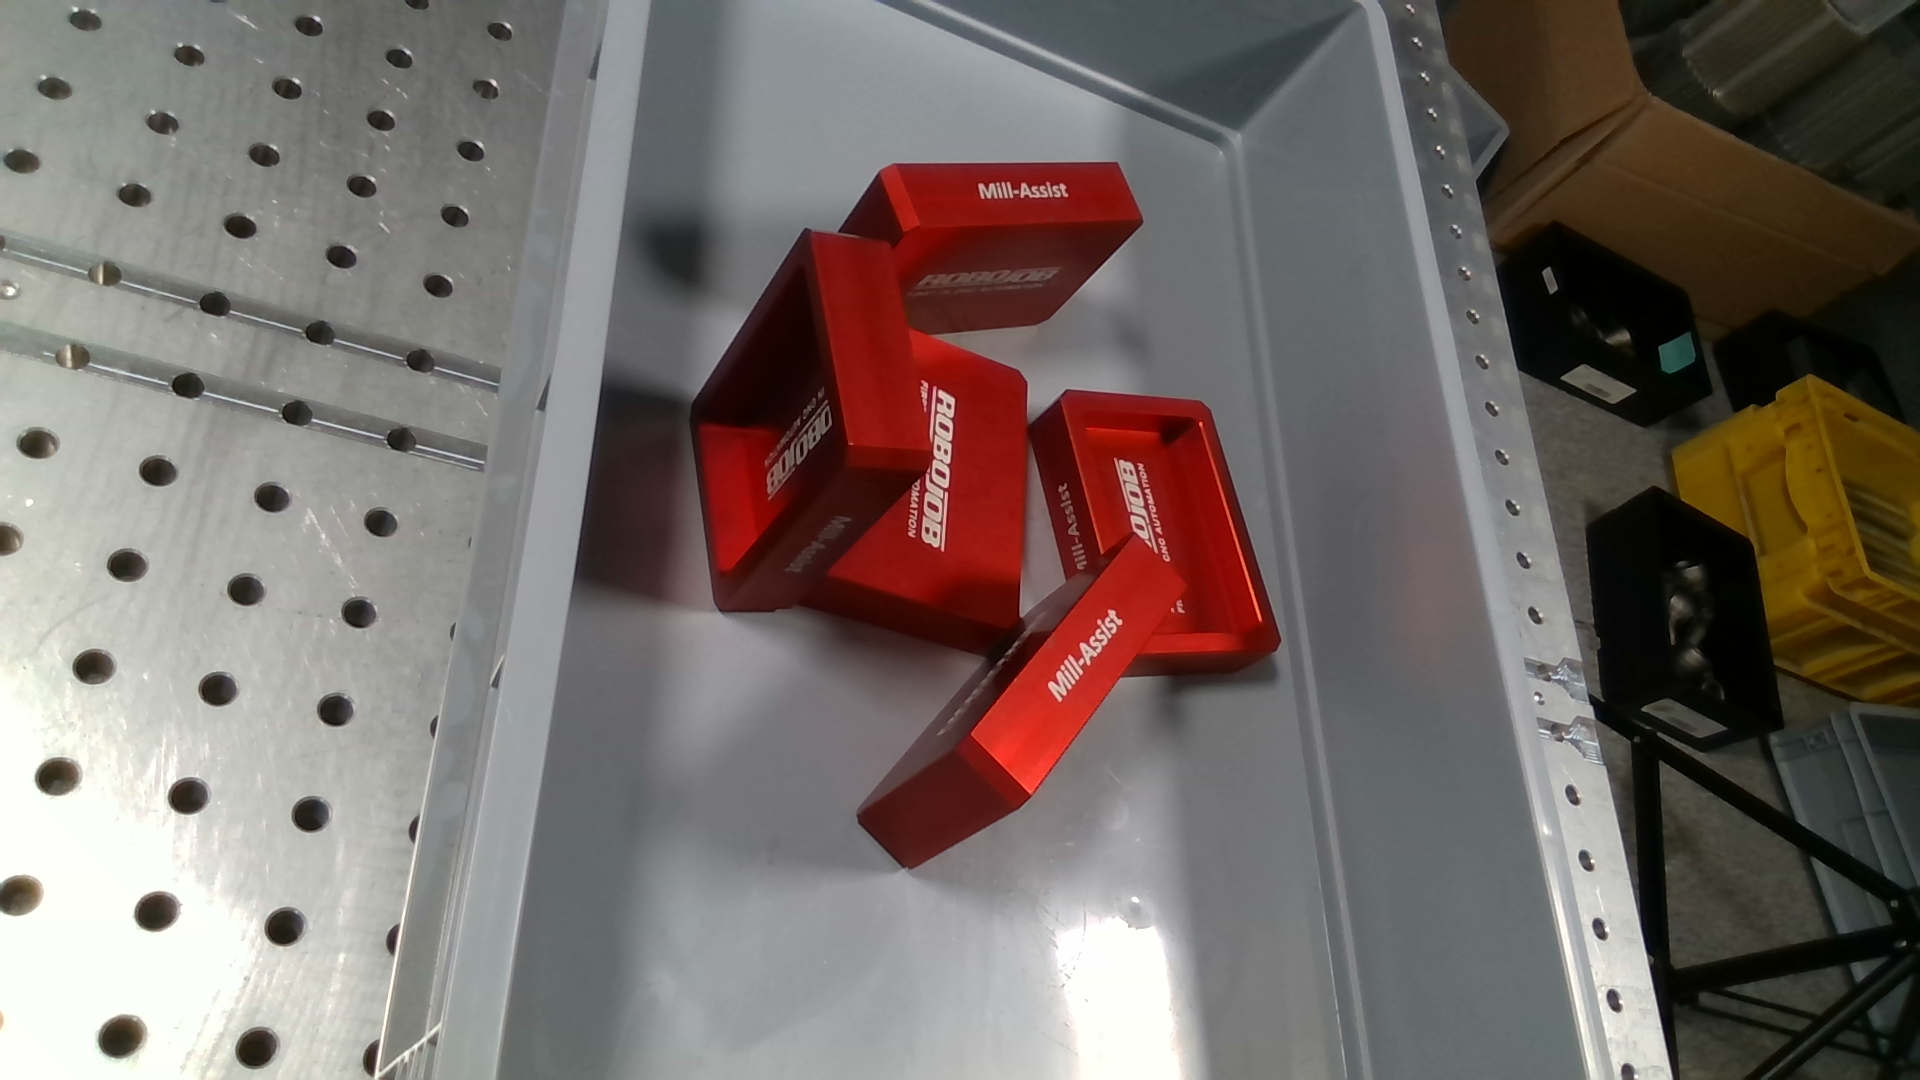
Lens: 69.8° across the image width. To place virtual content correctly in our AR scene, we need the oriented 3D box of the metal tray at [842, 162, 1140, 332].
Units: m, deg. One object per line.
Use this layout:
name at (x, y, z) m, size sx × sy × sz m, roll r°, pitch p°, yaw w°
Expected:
metal tray at (0.005, -0.129, 0.614) m, size 0.130 × 0.090 × 0.030 m, roll -11°, pitch 73°, yaw -35°

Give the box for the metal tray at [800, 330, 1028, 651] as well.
metal tray at (-0.019, -0.026, 0.582) m, size 0.090 × 0.030 × 0.130 m, roll 17°, pitch 57°, yaw -23°

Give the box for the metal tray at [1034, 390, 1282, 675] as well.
metal tray at (0.090, -0.003, 0.638) m, size 0.090 × 0.030 × 0.130 m, roll 1°, pitch 65°, yaw -31°

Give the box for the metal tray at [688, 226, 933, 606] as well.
metal tray at (-0.059, -0.039, 0.500) m, size 0.030 × 0.130 × 0.090 m, roll 1°, pitch 65°, yaw -31°

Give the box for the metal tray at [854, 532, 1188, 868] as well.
metal tray at (0.024, 0.060, 0.524) m, size 0.030 × 0.090 × 0.130 m, roll 46°, pitch 51°, yaw -2°
